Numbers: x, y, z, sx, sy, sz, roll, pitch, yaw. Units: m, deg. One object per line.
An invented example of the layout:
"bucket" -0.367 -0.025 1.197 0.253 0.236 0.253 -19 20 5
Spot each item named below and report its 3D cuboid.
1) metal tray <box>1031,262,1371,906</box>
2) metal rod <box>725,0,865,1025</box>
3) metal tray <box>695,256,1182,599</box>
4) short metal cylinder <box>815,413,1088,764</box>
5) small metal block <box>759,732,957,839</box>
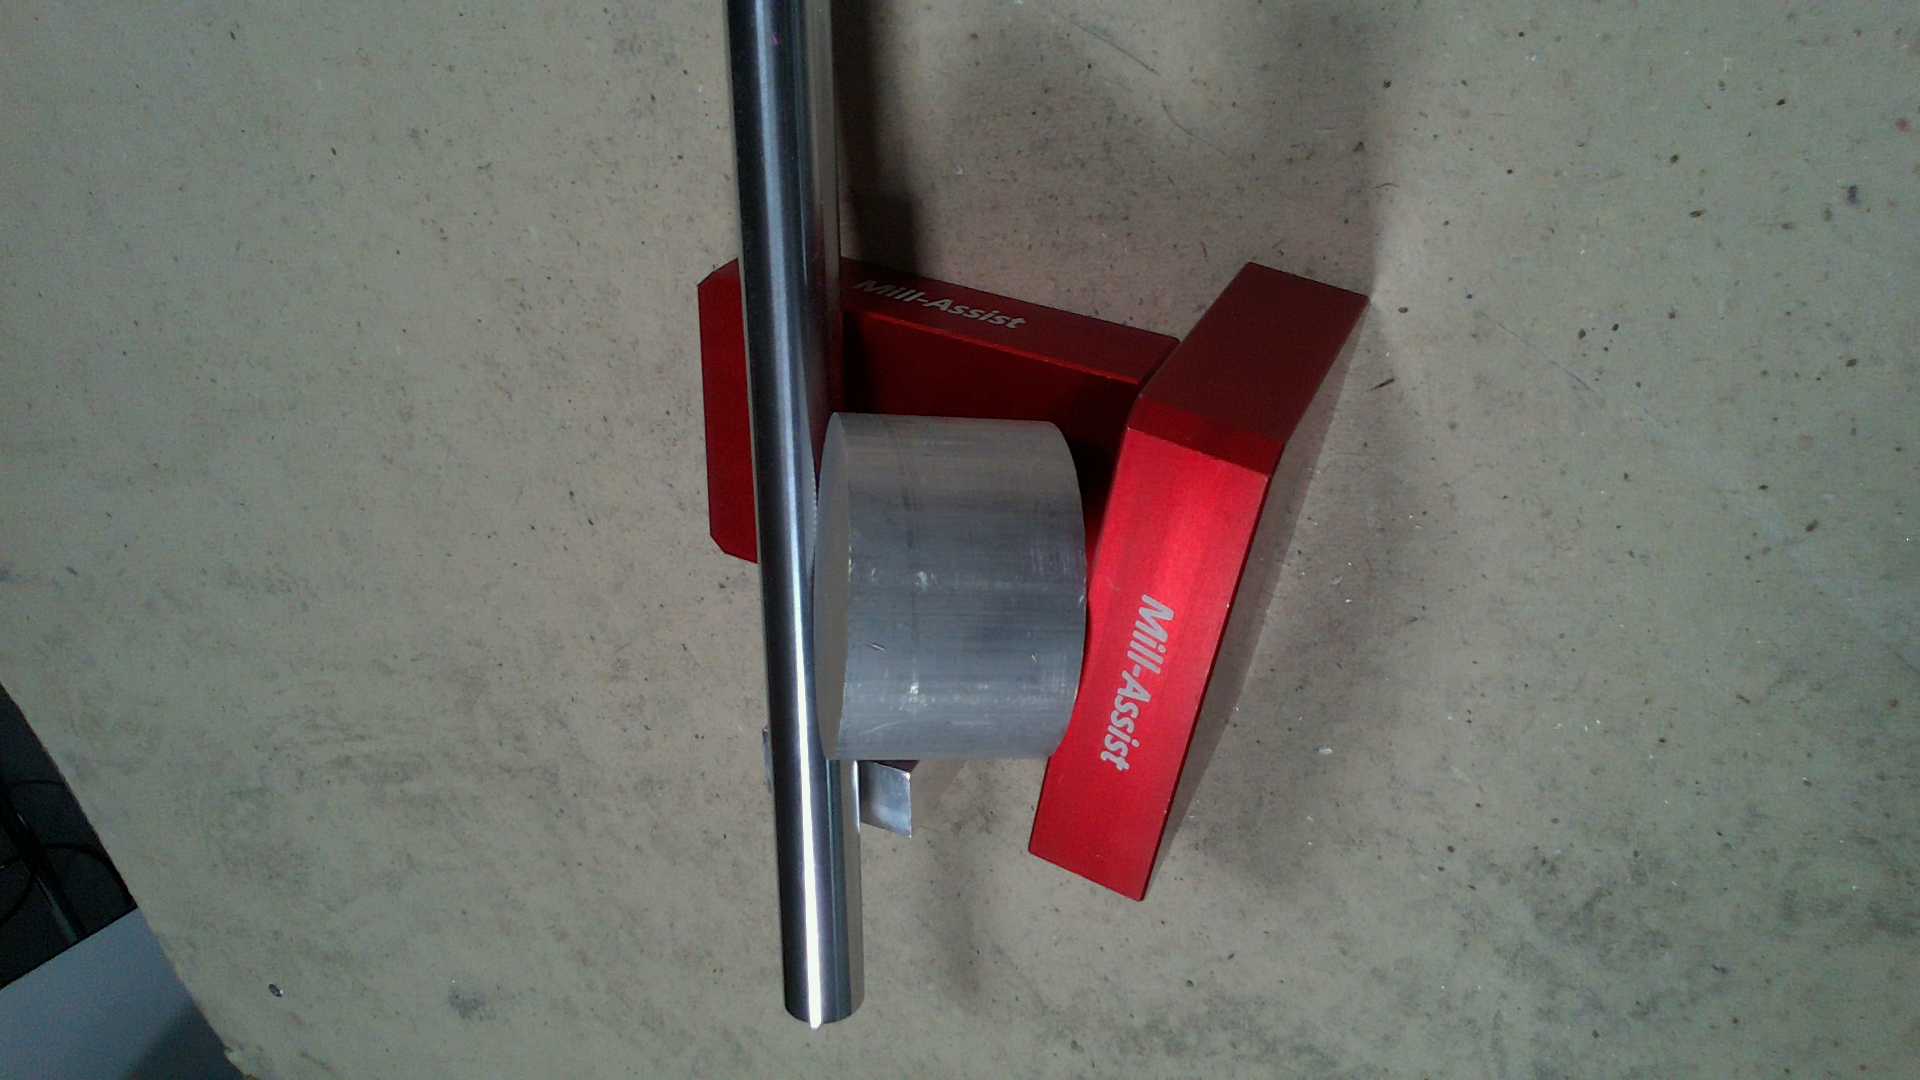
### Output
"metal tray" 0.057 0.011 0.327 0.030 0.090 0.130 21 126 16
"metal rod" -0.041 0.001 0.365 0.025 0.025 0.300 10 114 23
"metal tray" -0.008 -0.024 0.379 0.130 0.030 0.090 17 125 19
"short metal cylinder" -0.005 0.012 0.320 0.050 0.080 0.080 2 126 -11
"small metal block" -0.027 0.061 0.429 0.050 0.050 0.025 12 124 22
